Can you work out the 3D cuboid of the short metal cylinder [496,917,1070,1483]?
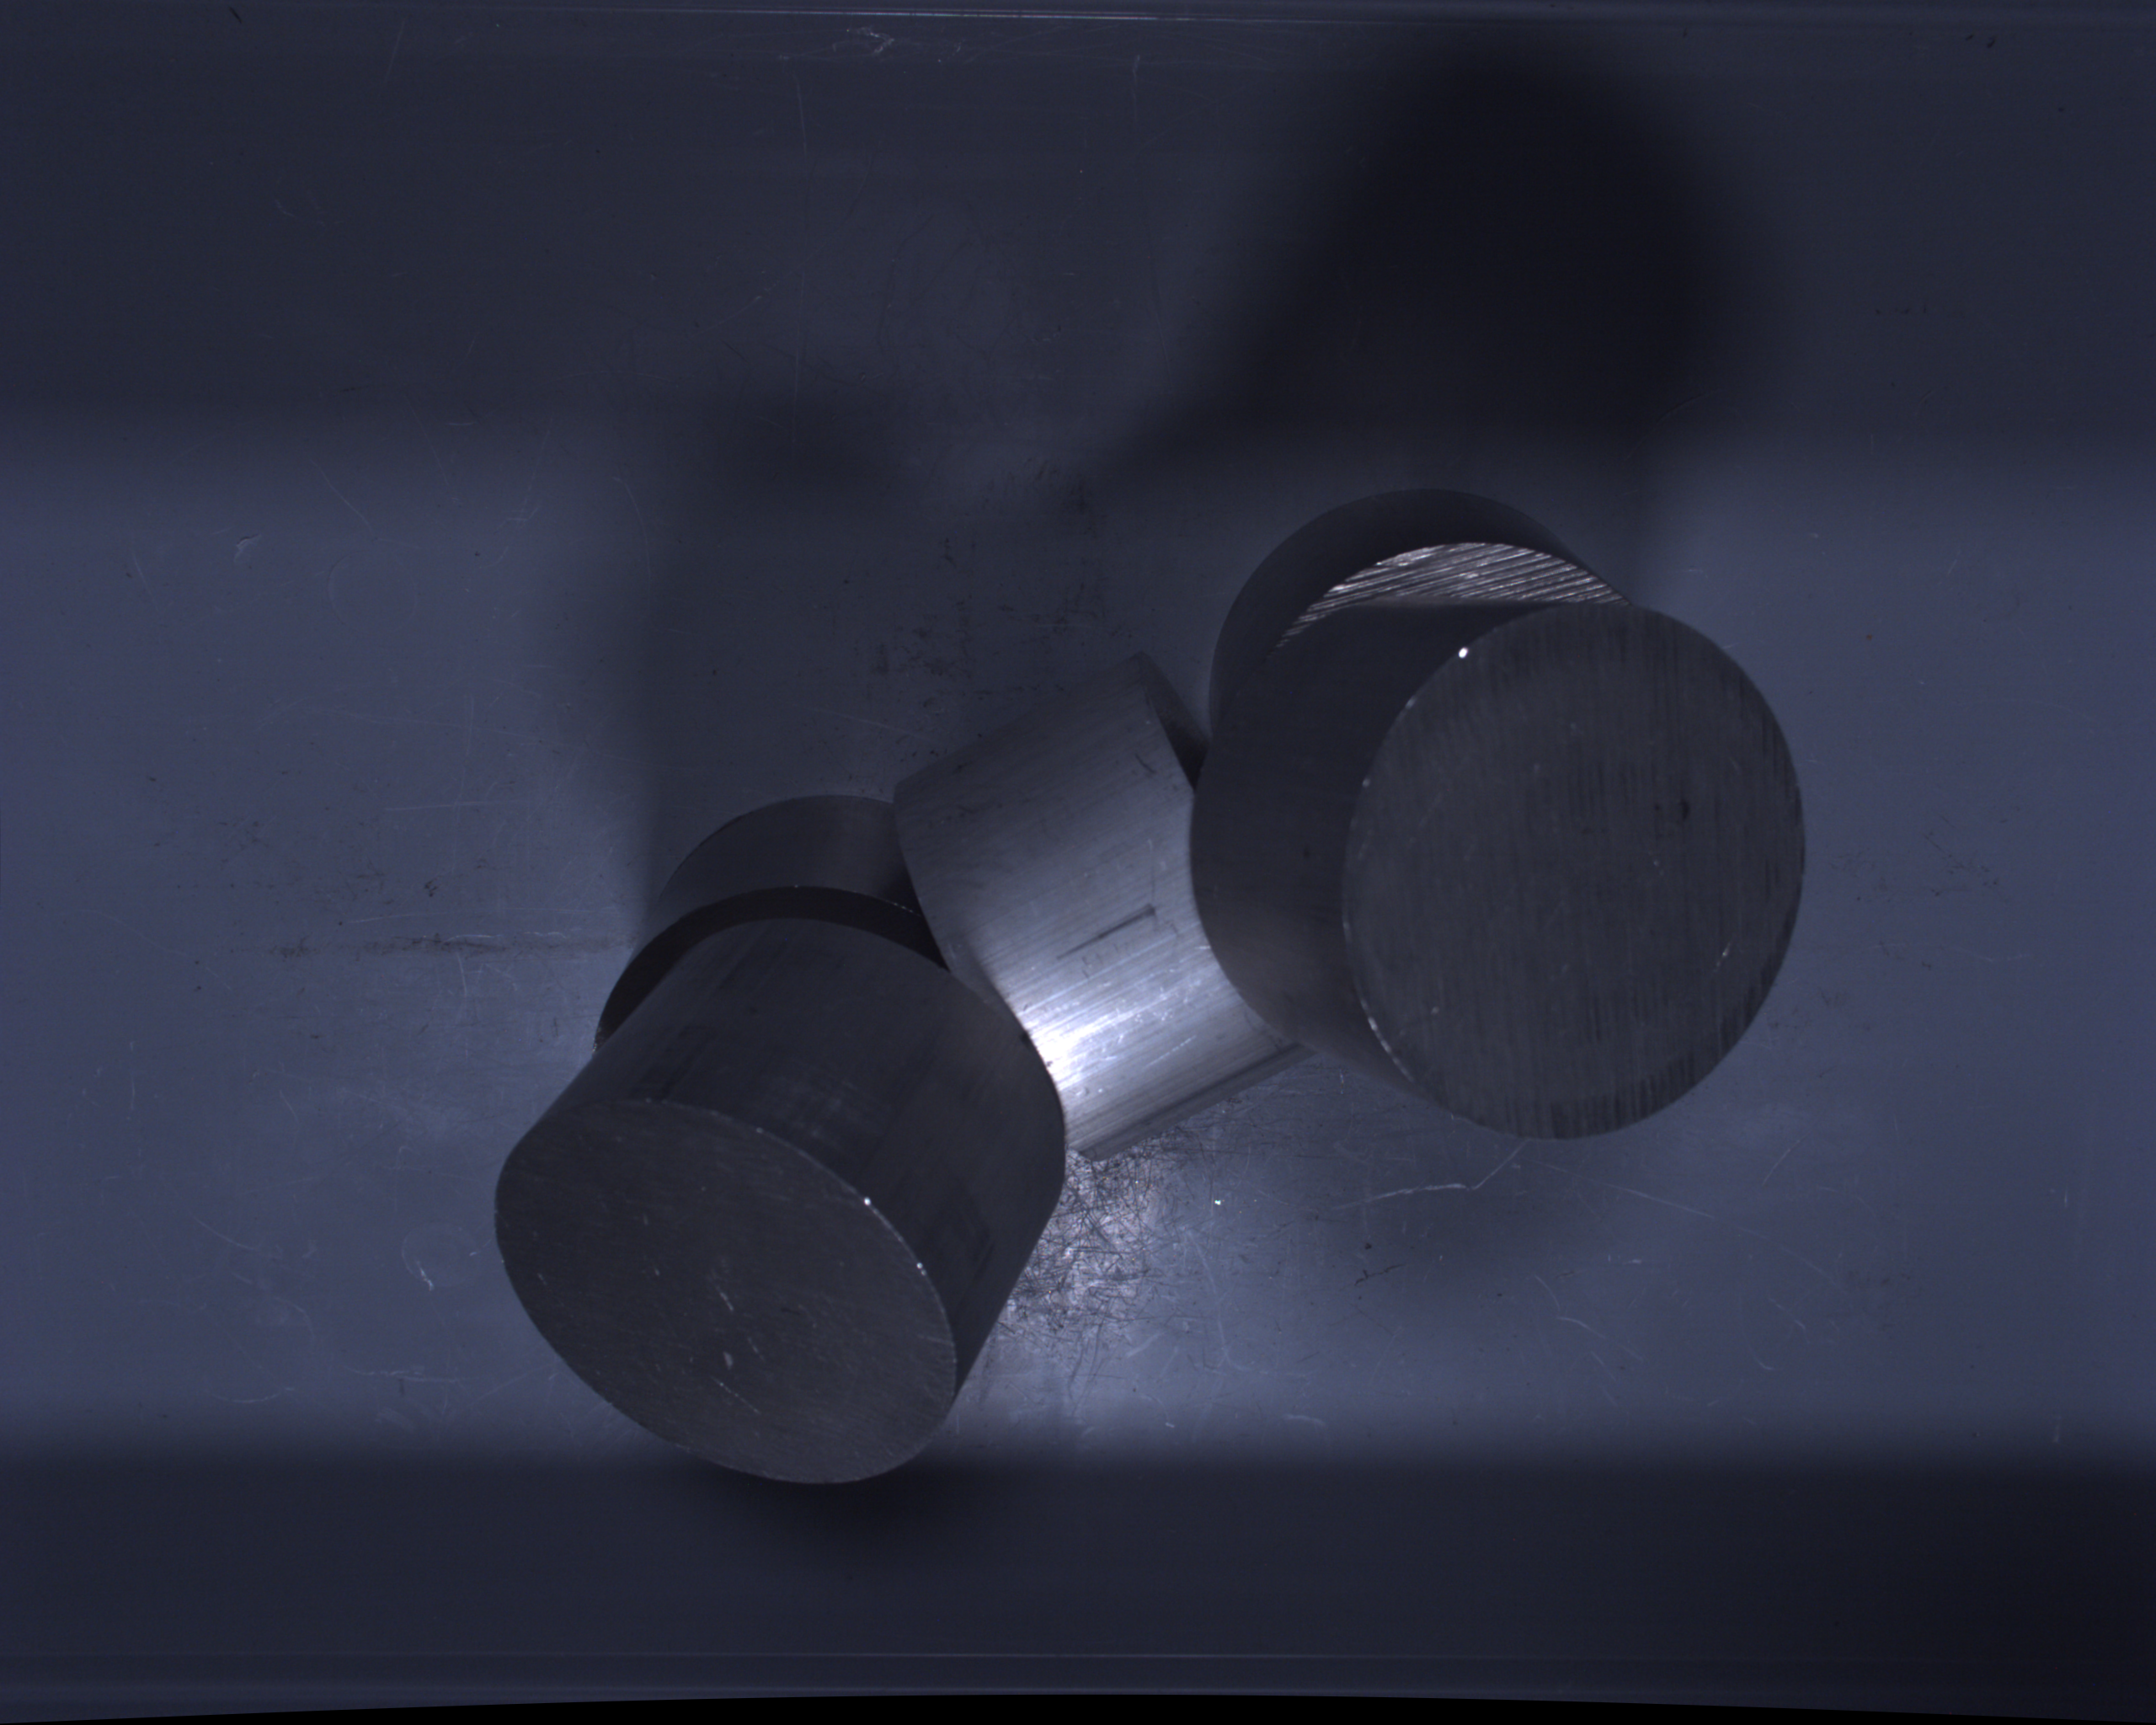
[{"bbox_3d":[-0.048,0.056,0.348,0.080,0.050,0.079,11,125,16],"label":"short metal cylinder"}]

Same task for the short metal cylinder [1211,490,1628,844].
[{"bbox_3d":[0.067,-0.025,0.388,0.081,0.050,0.079,0,110,-1],"label":"short metal cylinder"}]

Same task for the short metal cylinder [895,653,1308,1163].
[{"bbox_3d":[0.009,0.008,0.383,0.050,0.080,0.080,-28,108,9],"label":"short metal cylinder"}]

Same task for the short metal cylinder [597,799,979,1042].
[{"bbox_3d":[-0.049,0.033,0.408,0.081,0.050,0.079,0,110,-1],"label":"short metal cylinder"}]

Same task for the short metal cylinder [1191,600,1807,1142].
[{"bbox_3d":[0.065,-0.001,0.327,0.081,0.050,0.079,-3,98,-22],"label":"short metal cylinder"}]
